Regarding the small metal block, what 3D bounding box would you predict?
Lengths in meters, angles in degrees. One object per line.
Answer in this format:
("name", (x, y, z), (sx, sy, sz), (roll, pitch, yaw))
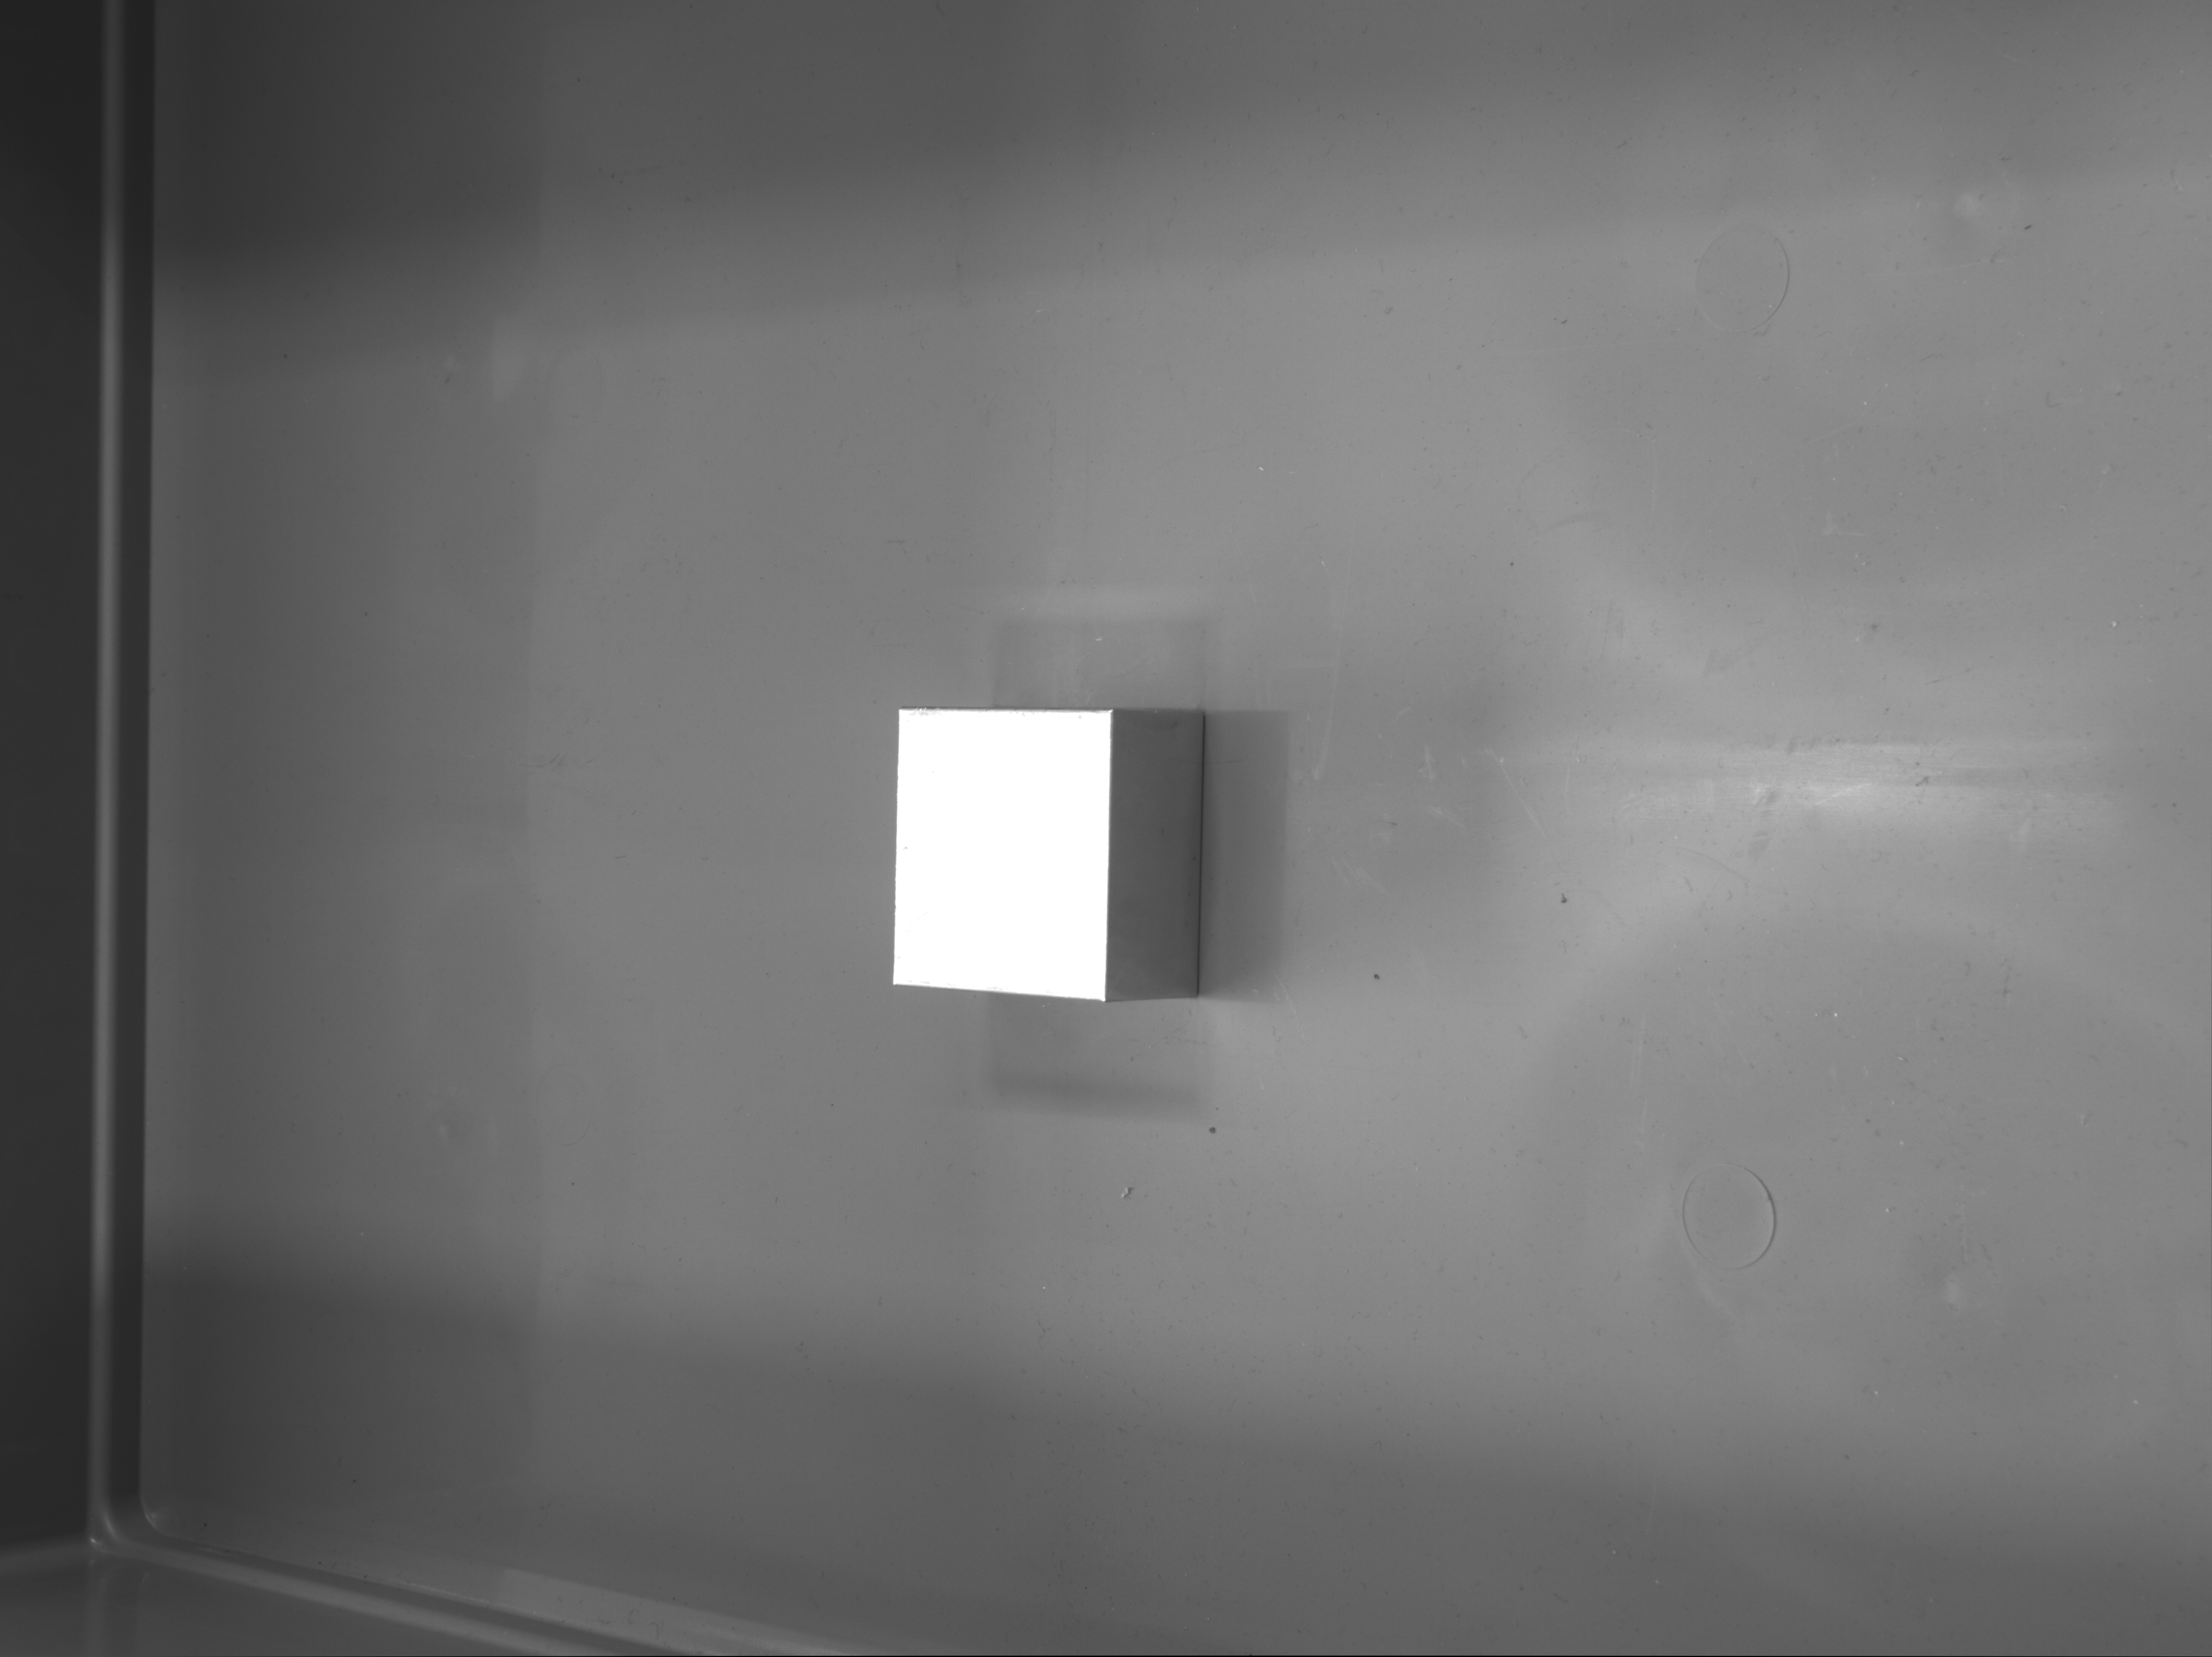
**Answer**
("small metal block", (-0.011, 0.004, 0.650), (0.050, 0.025, 0.050), (2, 91, 40))
